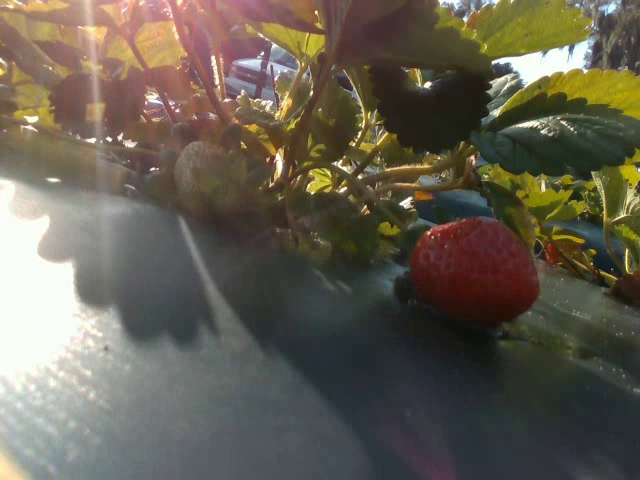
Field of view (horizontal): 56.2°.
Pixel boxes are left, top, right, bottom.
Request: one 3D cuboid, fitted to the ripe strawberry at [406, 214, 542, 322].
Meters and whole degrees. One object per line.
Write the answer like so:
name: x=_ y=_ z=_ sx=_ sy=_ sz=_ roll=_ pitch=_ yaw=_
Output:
ripe strawberry: x=0.040 y=0.009 z=0.135 sx=0.030 sy=0.033 sz=0.044 roll=-26 pitch=14 yaw=-5
